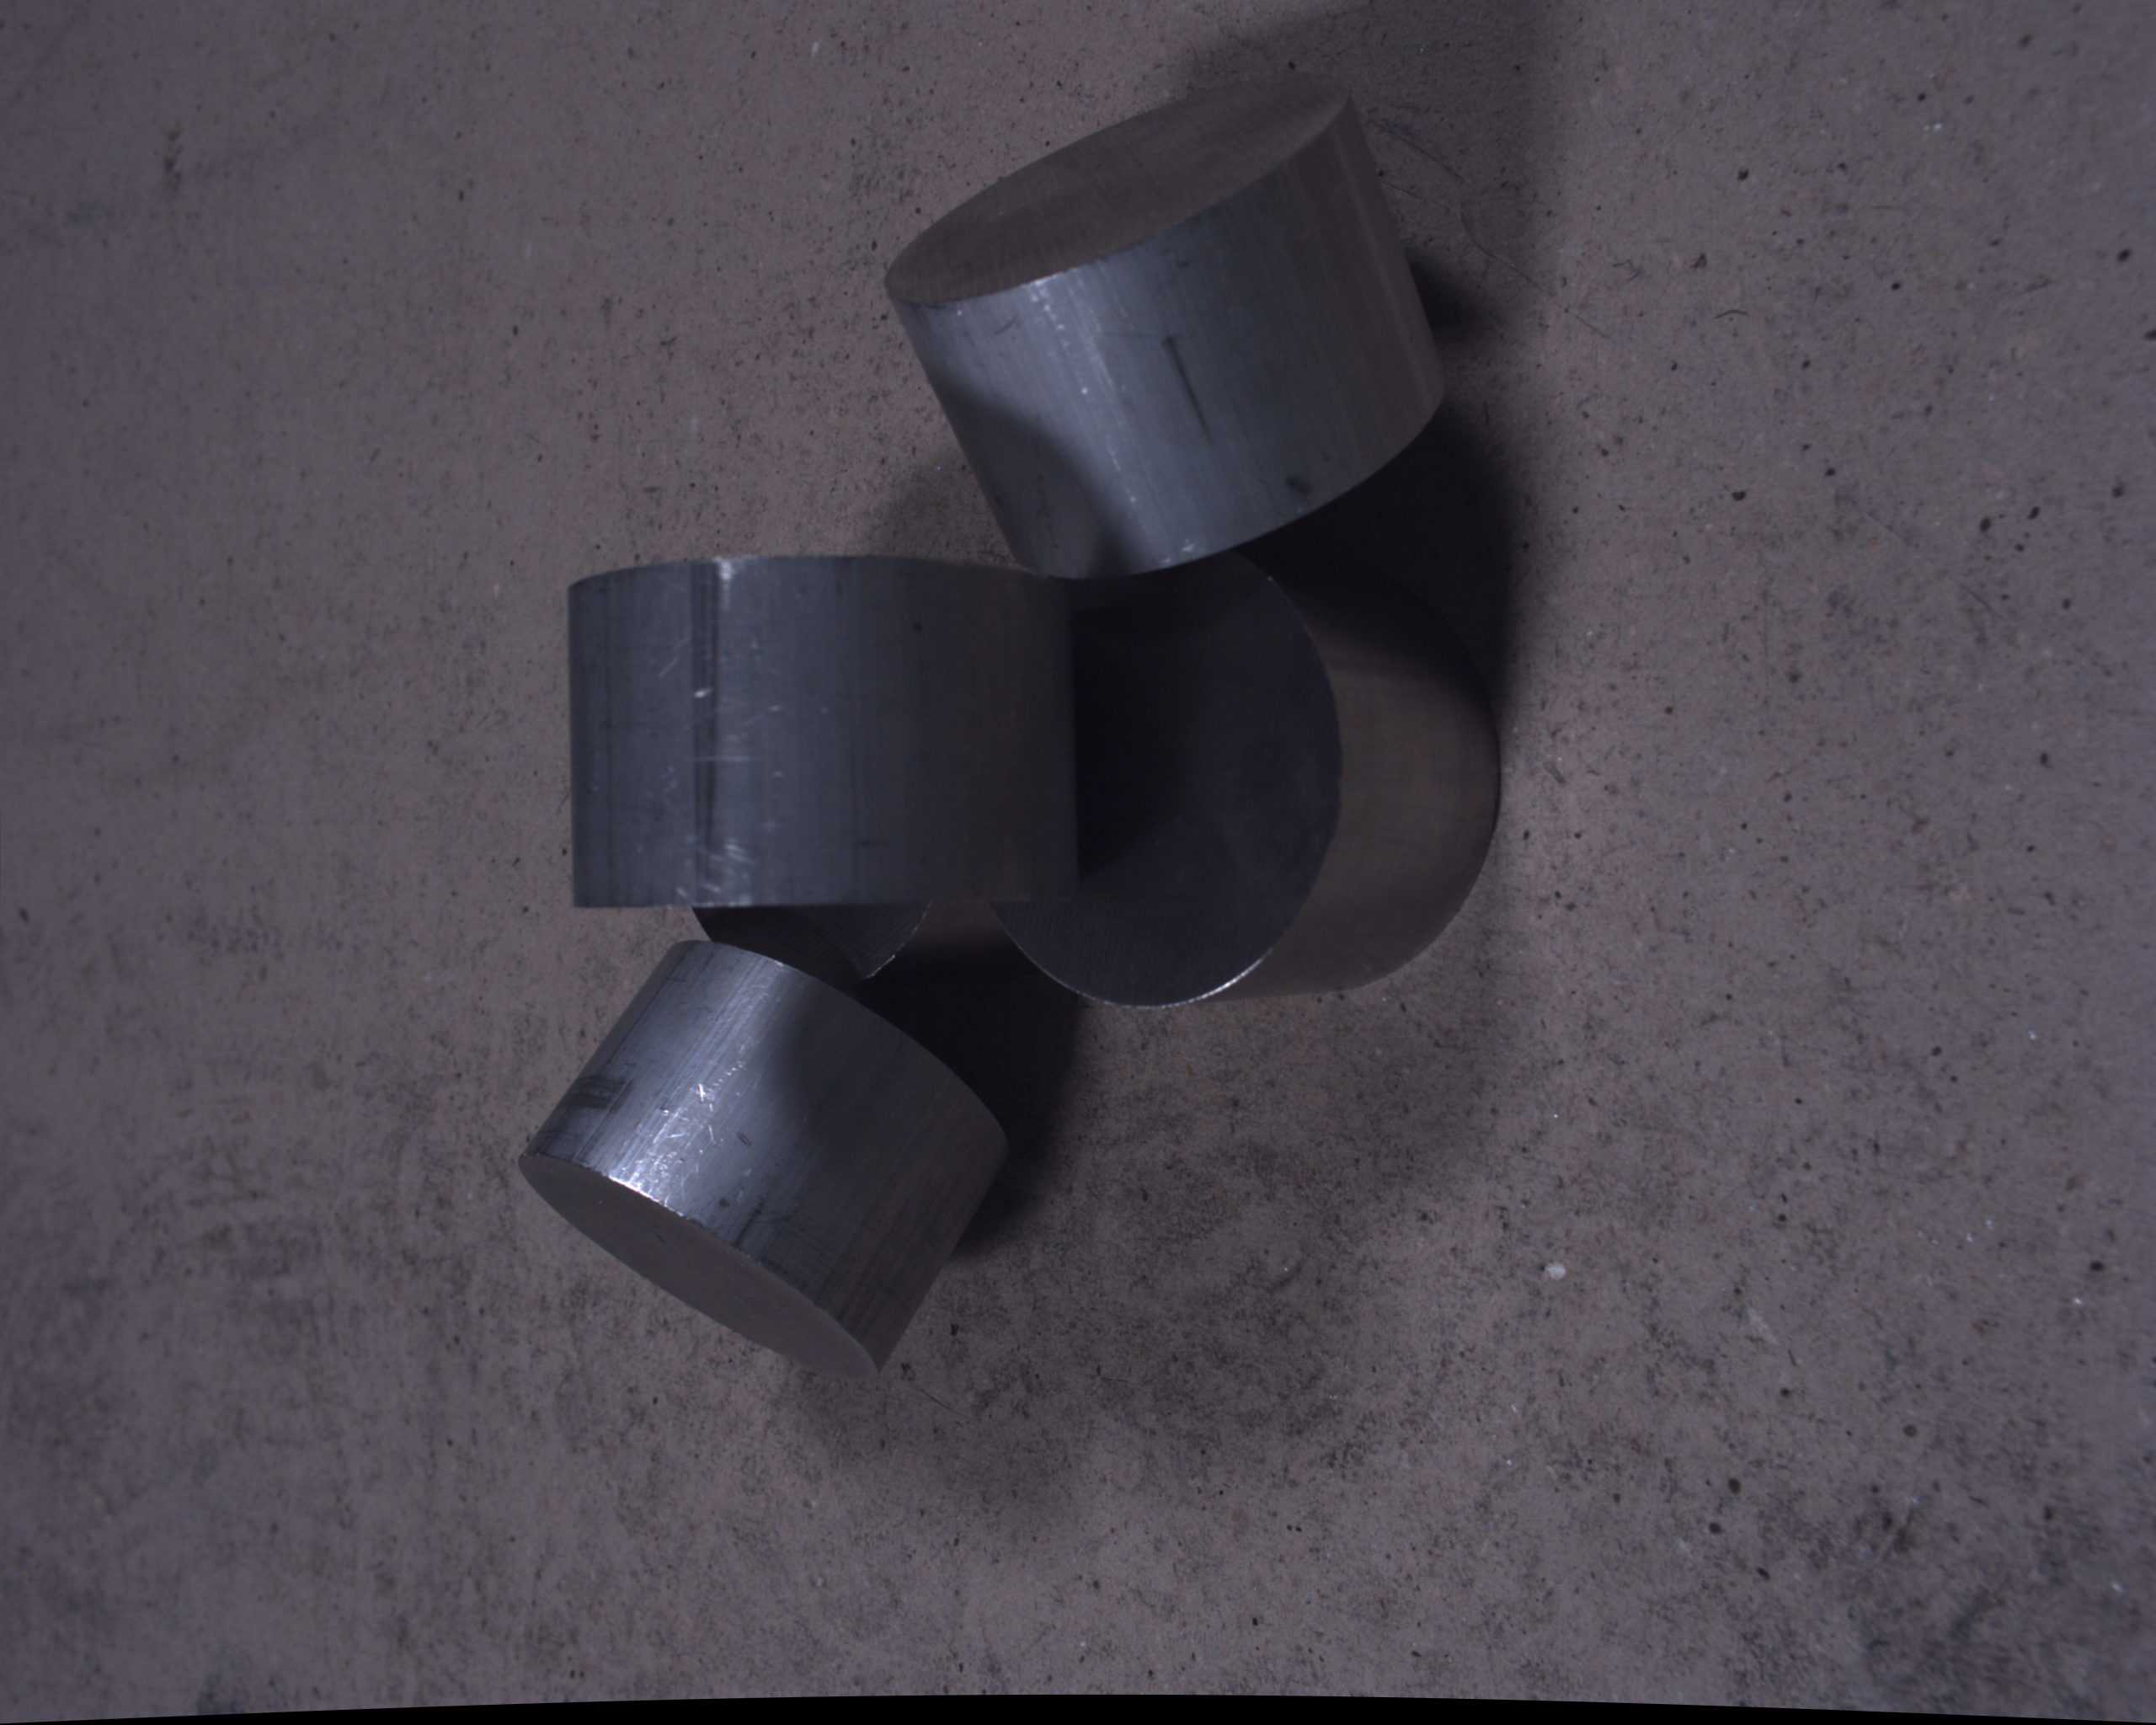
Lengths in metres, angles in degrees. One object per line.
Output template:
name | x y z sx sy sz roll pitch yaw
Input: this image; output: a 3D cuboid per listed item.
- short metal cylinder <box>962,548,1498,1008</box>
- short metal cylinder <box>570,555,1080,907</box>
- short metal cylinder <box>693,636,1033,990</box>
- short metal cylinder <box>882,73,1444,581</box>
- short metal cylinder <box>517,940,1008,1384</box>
short metal cylinder | 0.026 -0.016 0.367 0.080 0.050 0.079 0 90 39
short metal cylinder | -0.040 -0.018 0.337 0.080 0.081 0.050 -2 89 39
short metal cylinder | -0.037 -0.015 0.417 0.080 0.050 0.079 0 90 39
short metal cylinder | 0.015 -0.090 0.348 0.080 0.080 0.050 1 129 39
short metal cylinder | -0.061 0.059 0.410 0.080 0.080 0.050 10 57 39
